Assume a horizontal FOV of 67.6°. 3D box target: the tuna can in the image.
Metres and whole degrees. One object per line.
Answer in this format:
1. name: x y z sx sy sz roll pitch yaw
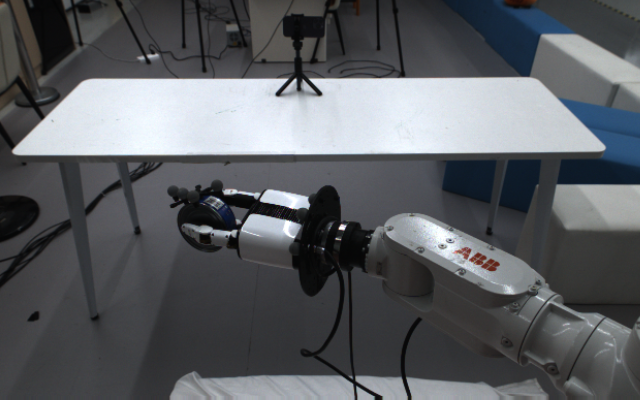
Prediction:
1. tuna can: -0.167 0.038 0.741 0.085 0.085 0.034 12 28 15
